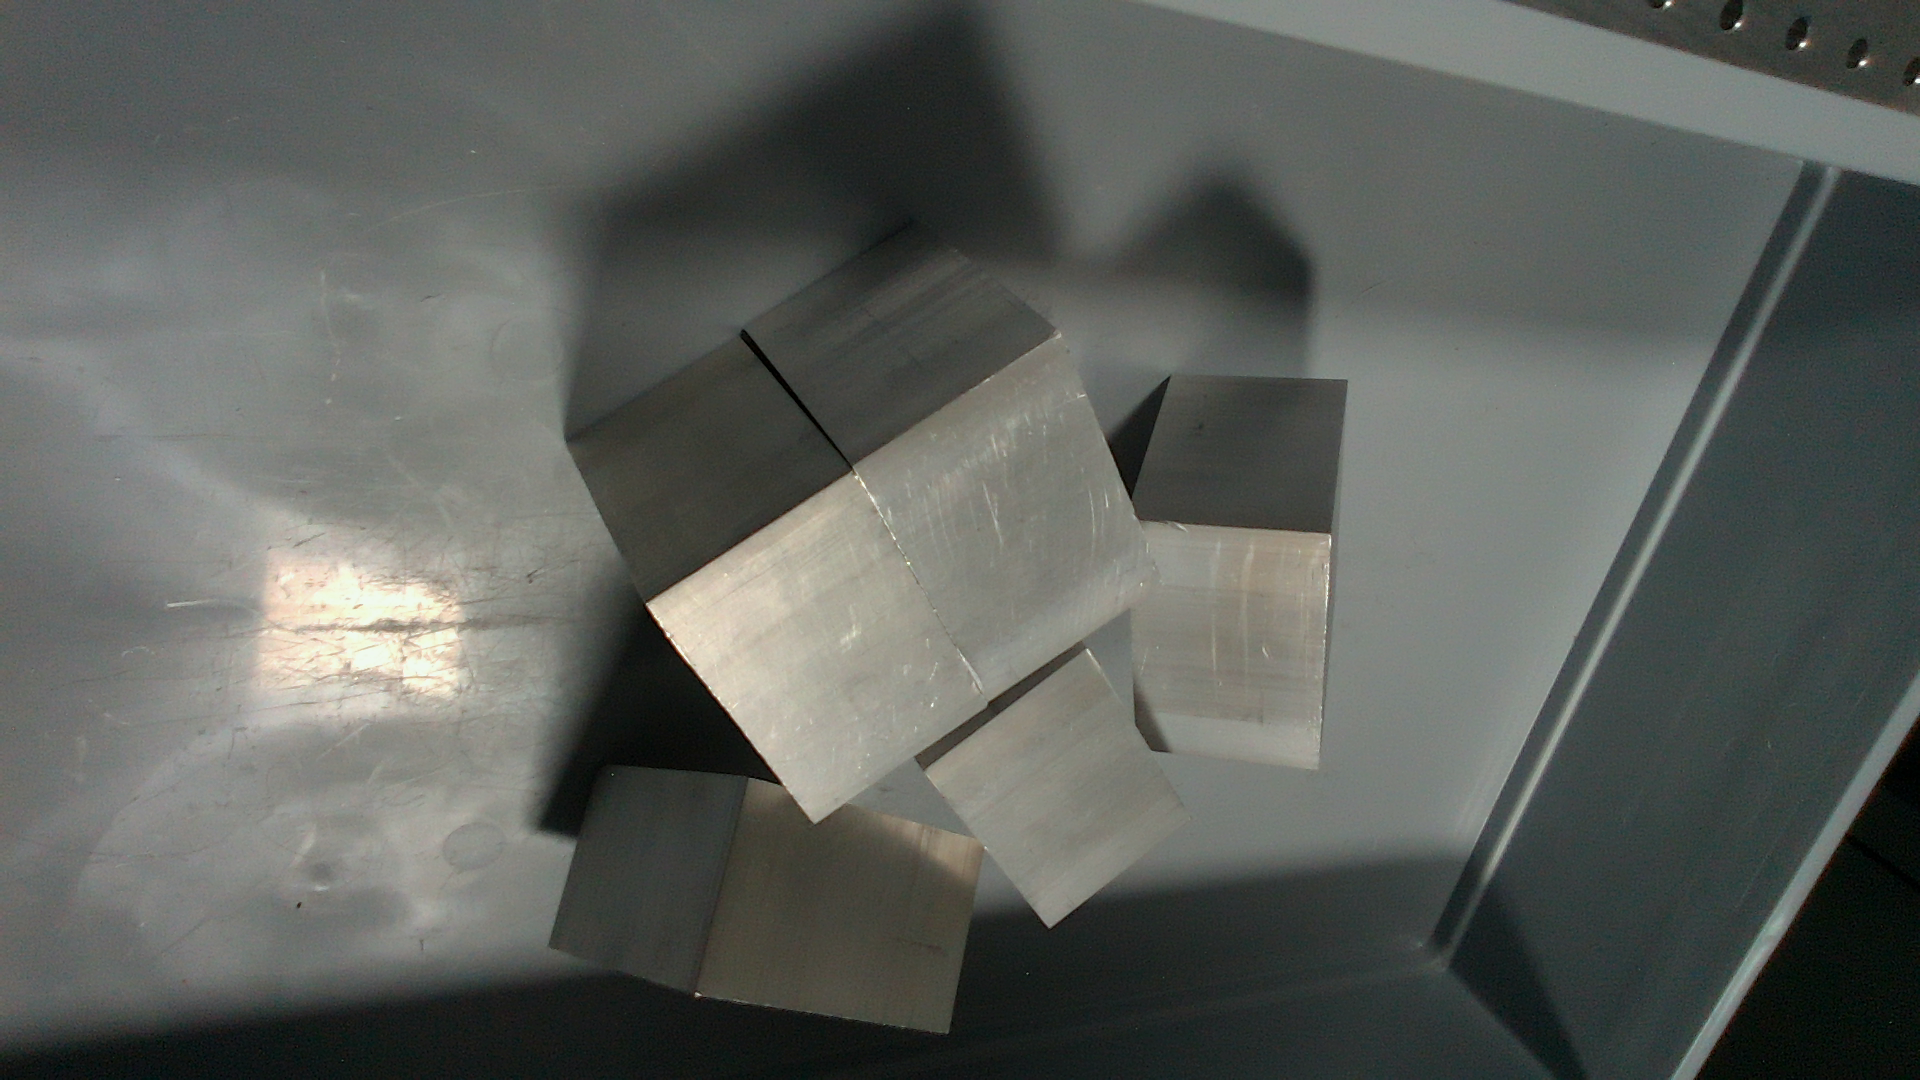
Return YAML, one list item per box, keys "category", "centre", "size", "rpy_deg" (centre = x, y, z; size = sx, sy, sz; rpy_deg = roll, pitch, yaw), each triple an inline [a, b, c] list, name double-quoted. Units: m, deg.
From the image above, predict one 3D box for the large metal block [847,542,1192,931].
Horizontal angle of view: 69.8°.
- category: "large metal block"
  centre: [0.011, 0.048, 0.387]
  size: [0.050, 0.080, 0.080]
  rpy_deg: [-36, 129, -4]

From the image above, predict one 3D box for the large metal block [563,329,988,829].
- category: "large metal block"
  centre: [-0.045, 0.008, 0.333]
  size: [0.050, 0.080, 0.080]
  rpy_deg: [-33, 129, -7]

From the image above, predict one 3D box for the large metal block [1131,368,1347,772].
- category: "large metal block"
  centre: [0.080, 0.006, 0.392]
  size: [0.050, 0.080, 0.080]
  rpy_deg: [4, 126, 16]

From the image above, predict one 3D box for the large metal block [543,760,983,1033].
- category: "large metal block"
  centre: [-0.053, 0.096, 0.374]
  size: [0.080, 0.080, 0.050]
  rpy_deg: [24, 71, -37]

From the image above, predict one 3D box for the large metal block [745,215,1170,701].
- category: "large metal block"
  centre: [-0.001, -0.022, 0.338]
  size: [0.050, 0.080, 0.080]
  rpy_deg: [-34, 129, -6]
